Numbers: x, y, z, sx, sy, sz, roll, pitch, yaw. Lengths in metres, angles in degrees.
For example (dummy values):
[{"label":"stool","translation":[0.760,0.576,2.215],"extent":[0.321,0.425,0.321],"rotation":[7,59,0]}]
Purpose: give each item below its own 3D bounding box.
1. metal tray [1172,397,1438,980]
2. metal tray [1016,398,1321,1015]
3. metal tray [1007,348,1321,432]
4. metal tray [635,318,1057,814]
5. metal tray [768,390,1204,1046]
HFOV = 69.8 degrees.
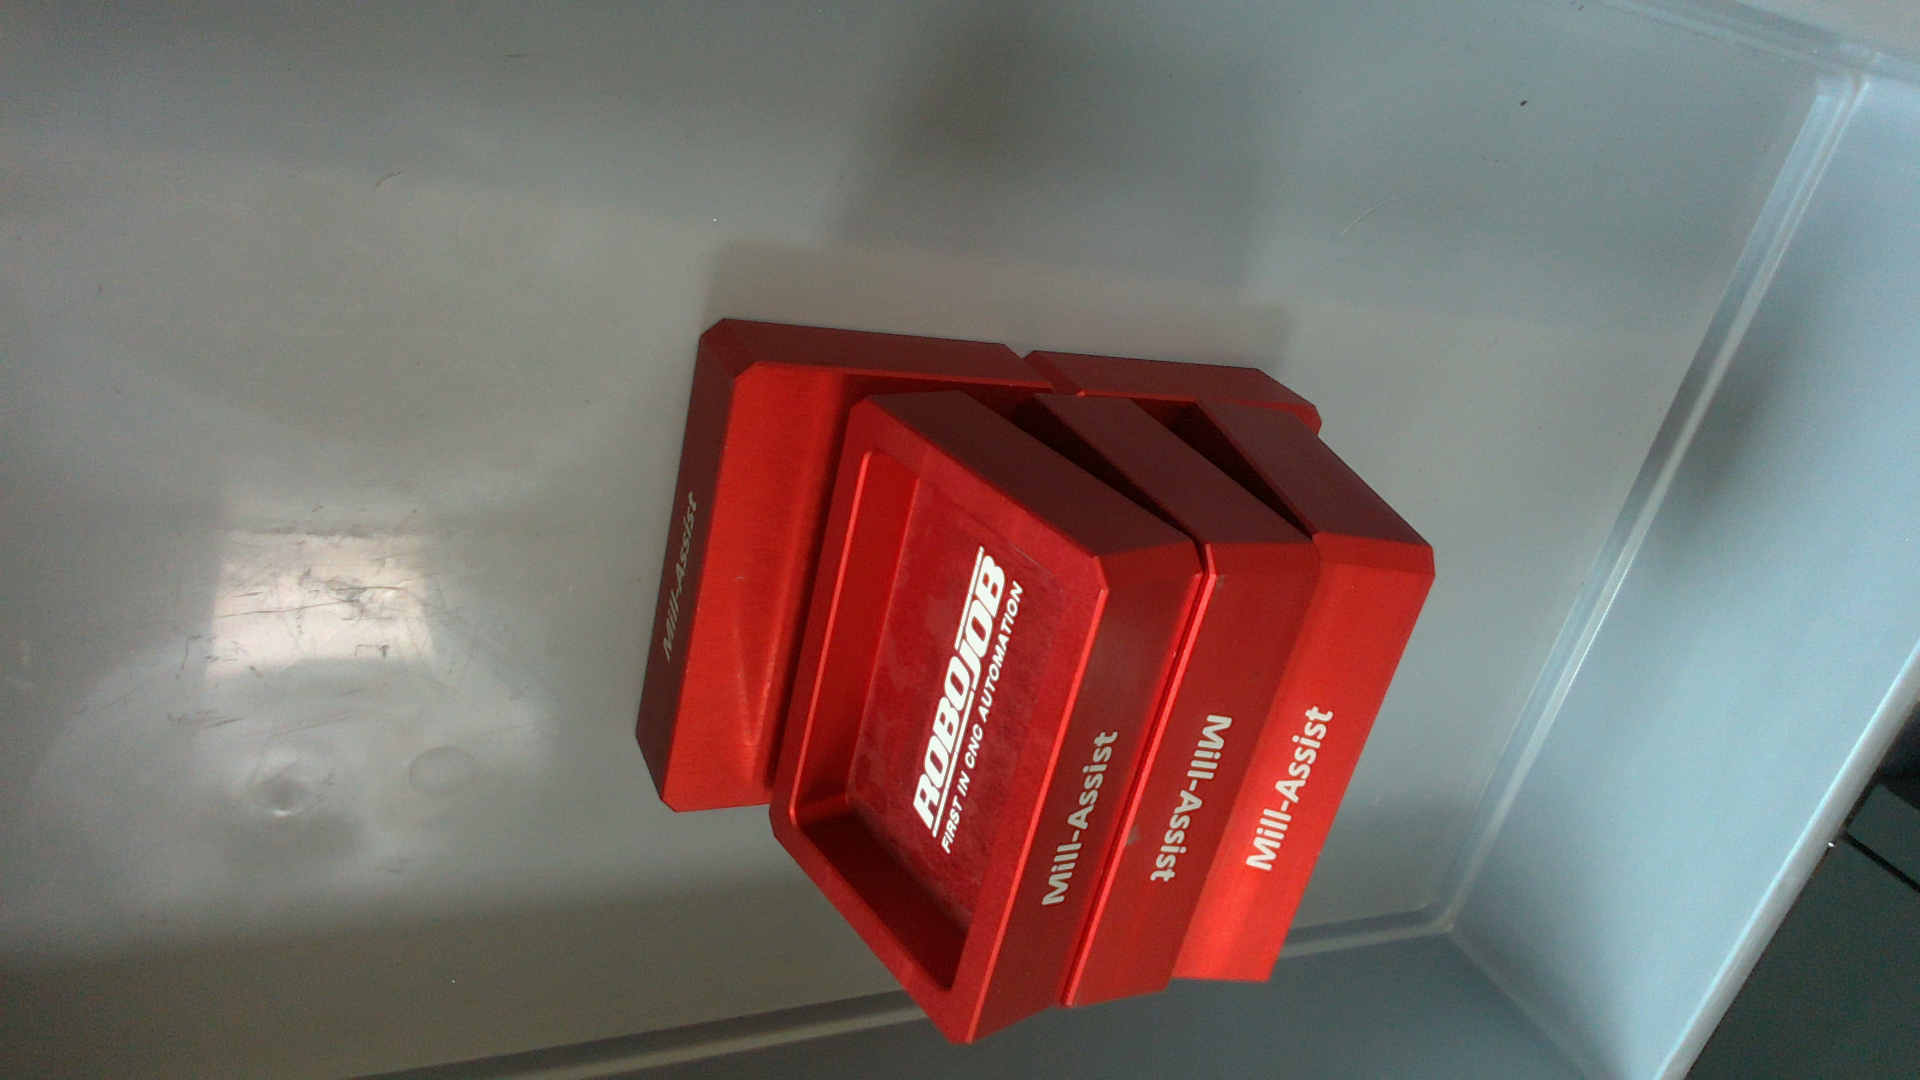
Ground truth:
[{"label":"metal tray","translation":[0.071,0.039,0.366],"extent":[0.030,0.090,0.130],"rotation":[7,116,-15]},{"label":"metal tray","translation":[0.034,0.040,0.349],"extent":[0.030,0.090,0.130],"rotation":[0,116,-28]},{"label":"metal tray","translation":[0.047,0.011,0.416],"extent":[0.090,0.030,0.130],"rotation":[0,118,-29]},{"label":"metal tray","translation":[-0.033,0.010,0.372],"extent":[0.090,0.030,0.130],"rotation":[0,118,-29]},{"label":"metal tray","translation":[-0.001,0.041,0.328],"extent":[0.030,0.090,0.130],"rotation":[-8,123,-39]}]
